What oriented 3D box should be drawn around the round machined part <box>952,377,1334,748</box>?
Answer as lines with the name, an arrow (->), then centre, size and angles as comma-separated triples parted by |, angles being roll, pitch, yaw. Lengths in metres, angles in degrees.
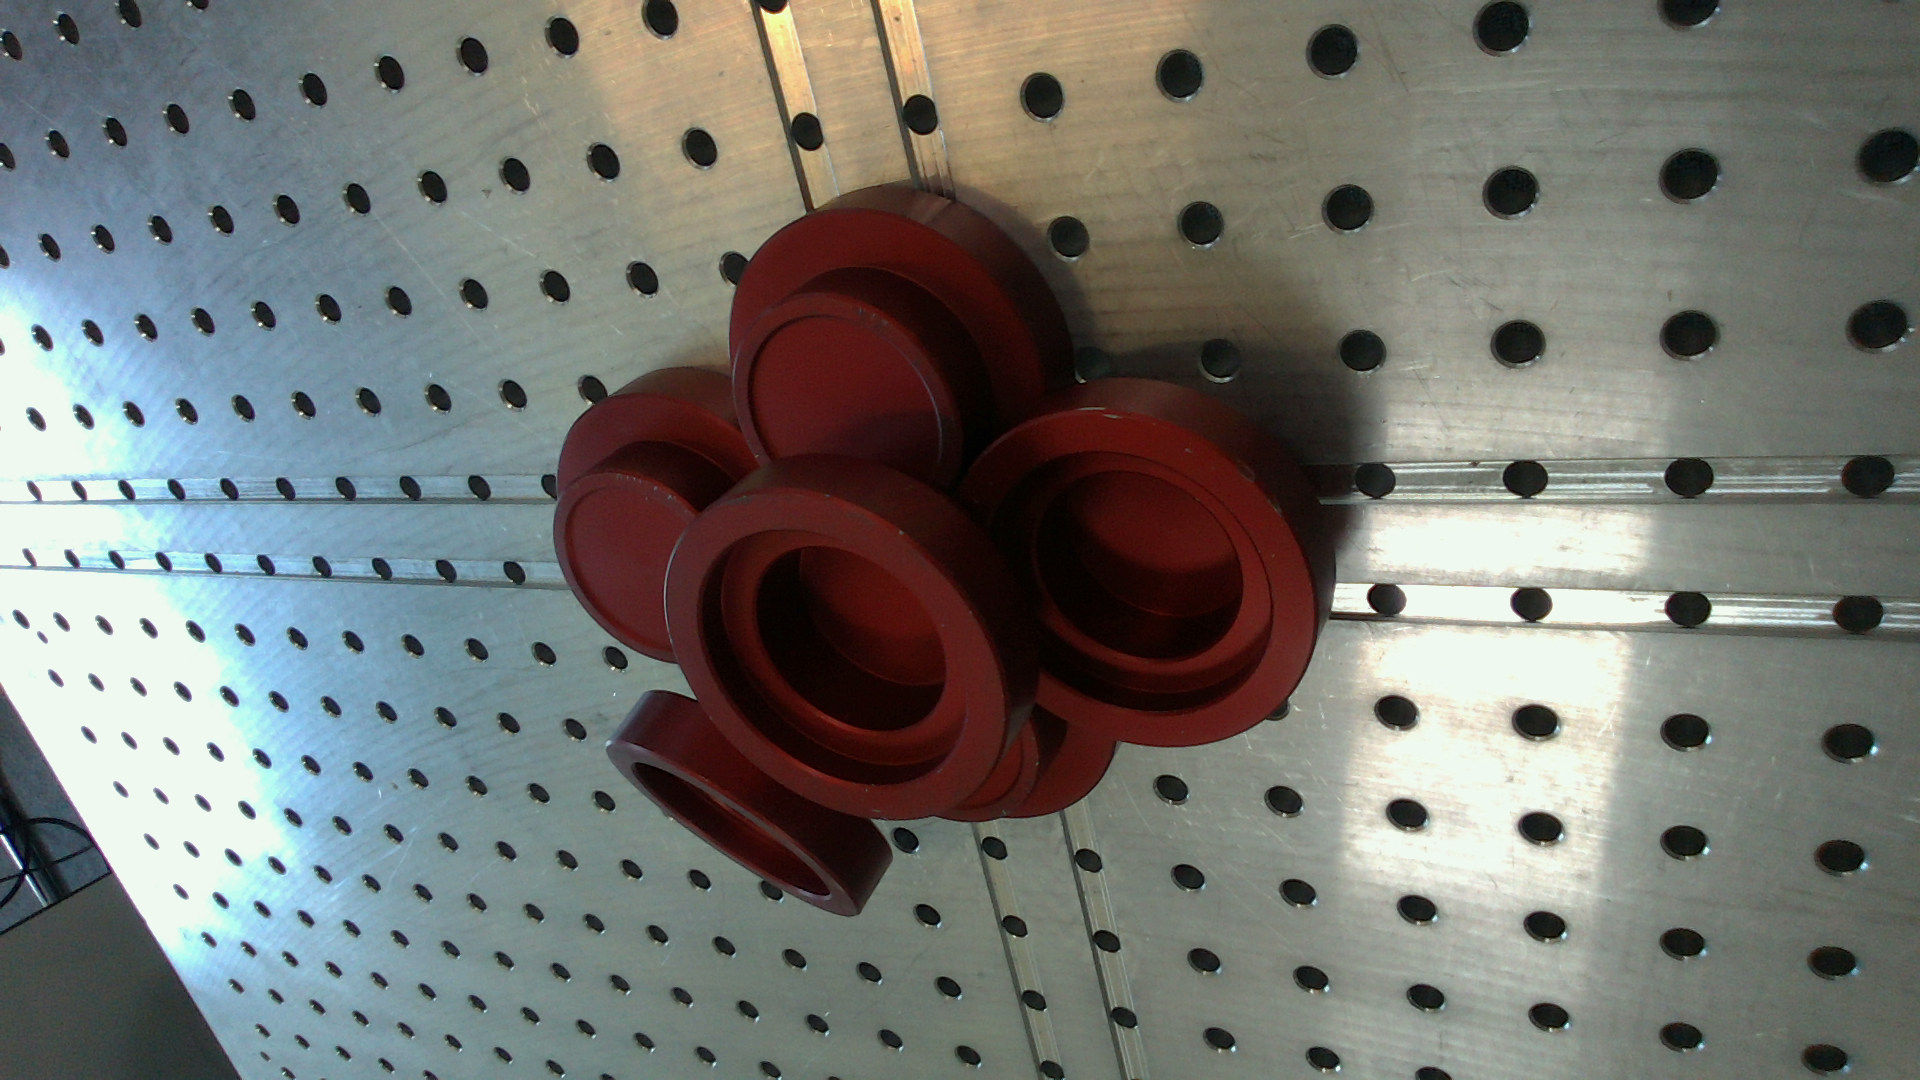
round machined part -> 0.049, 0.003, 0.360 | 0.098, 0.042, 0.098 | 13, 124, 21

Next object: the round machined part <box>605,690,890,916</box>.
round machined part -> -0.064, 0.078, 0.451 | 0.098, 0.042, 0.098 | 27, 154, 14

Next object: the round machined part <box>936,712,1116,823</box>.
round machined part -> 0.000, 0.045, 0.412 | 0.098, 0.042, 0.098 | 13, 124, 21

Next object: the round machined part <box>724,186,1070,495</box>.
round machined part -> -0.023, -0.042, 0.371 | 0.098, 0.042, 0.098 | 13, 124, 21

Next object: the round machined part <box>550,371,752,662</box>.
round machined part -> -0.088, -0.001, 0.432 | 0.098, 0.042, 0.098 | 13, 124, 21

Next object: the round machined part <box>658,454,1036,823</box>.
round machined part -> -0.025, 0.022, 0.356 | 0.098, 0.042, 0.098 | 13, 124, 21
